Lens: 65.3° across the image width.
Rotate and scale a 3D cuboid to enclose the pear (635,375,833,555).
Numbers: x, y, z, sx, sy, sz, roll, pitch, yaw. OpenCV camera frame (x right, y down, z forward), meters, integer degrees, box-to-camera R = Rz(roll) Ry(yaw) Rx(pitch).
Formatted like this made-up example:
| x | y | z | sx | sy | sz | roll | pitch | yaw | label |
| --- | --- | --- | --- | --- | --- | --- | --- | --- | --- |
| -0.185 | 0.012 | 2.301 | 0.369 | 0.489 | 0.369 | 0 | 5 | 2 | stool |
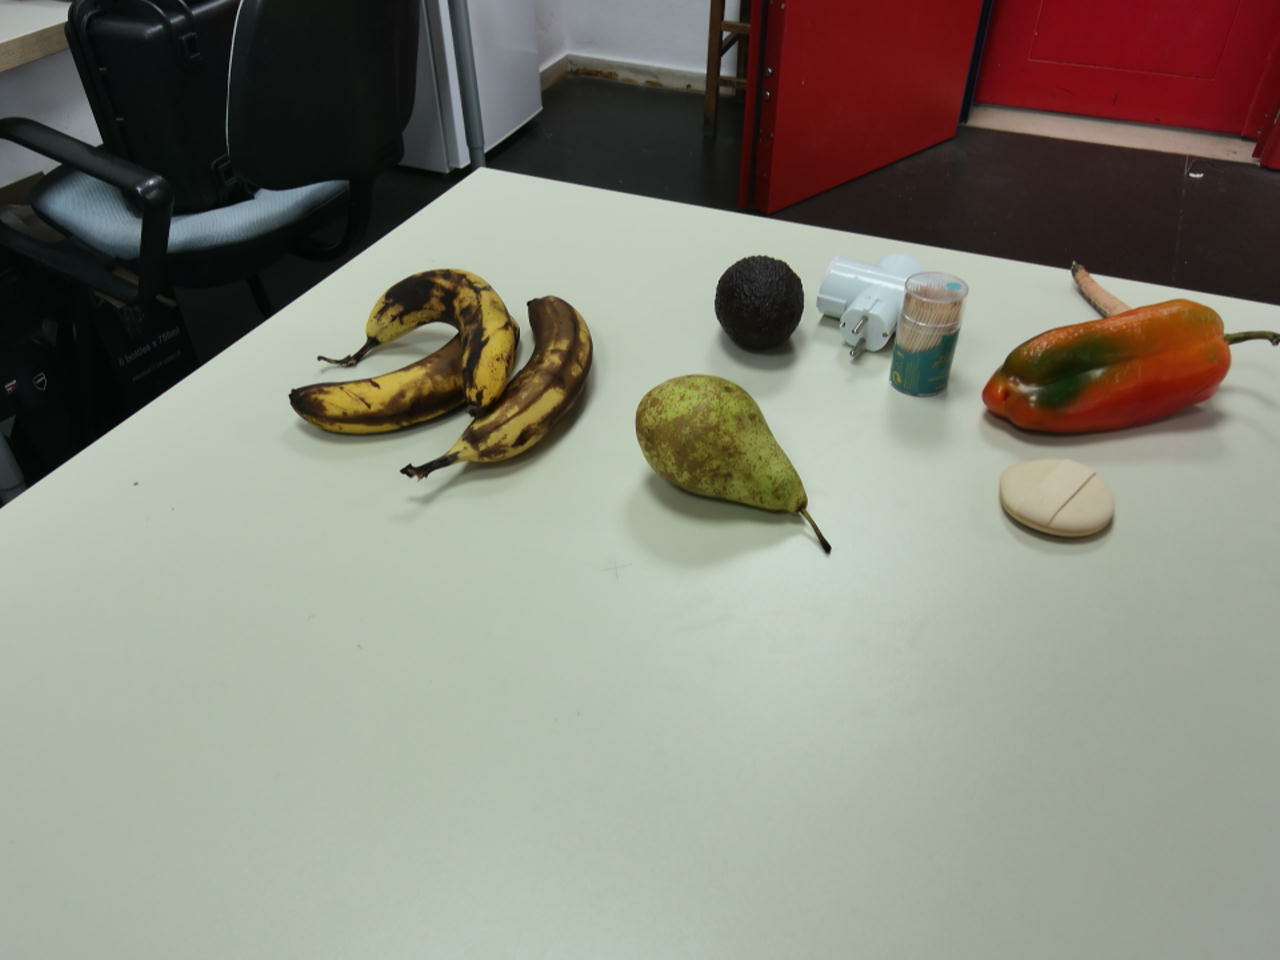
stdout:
| x | y | z | sx | sy | sz | roll | pitch | yaw | label |
| --- | --- | --- | --- | --- | --- | --- | --- | --- | --- |
| 0.058 | -0.021 | 0.590 | 0.128 | 0.075 | 0.071 | 12 | 40 | 13 | pear |
